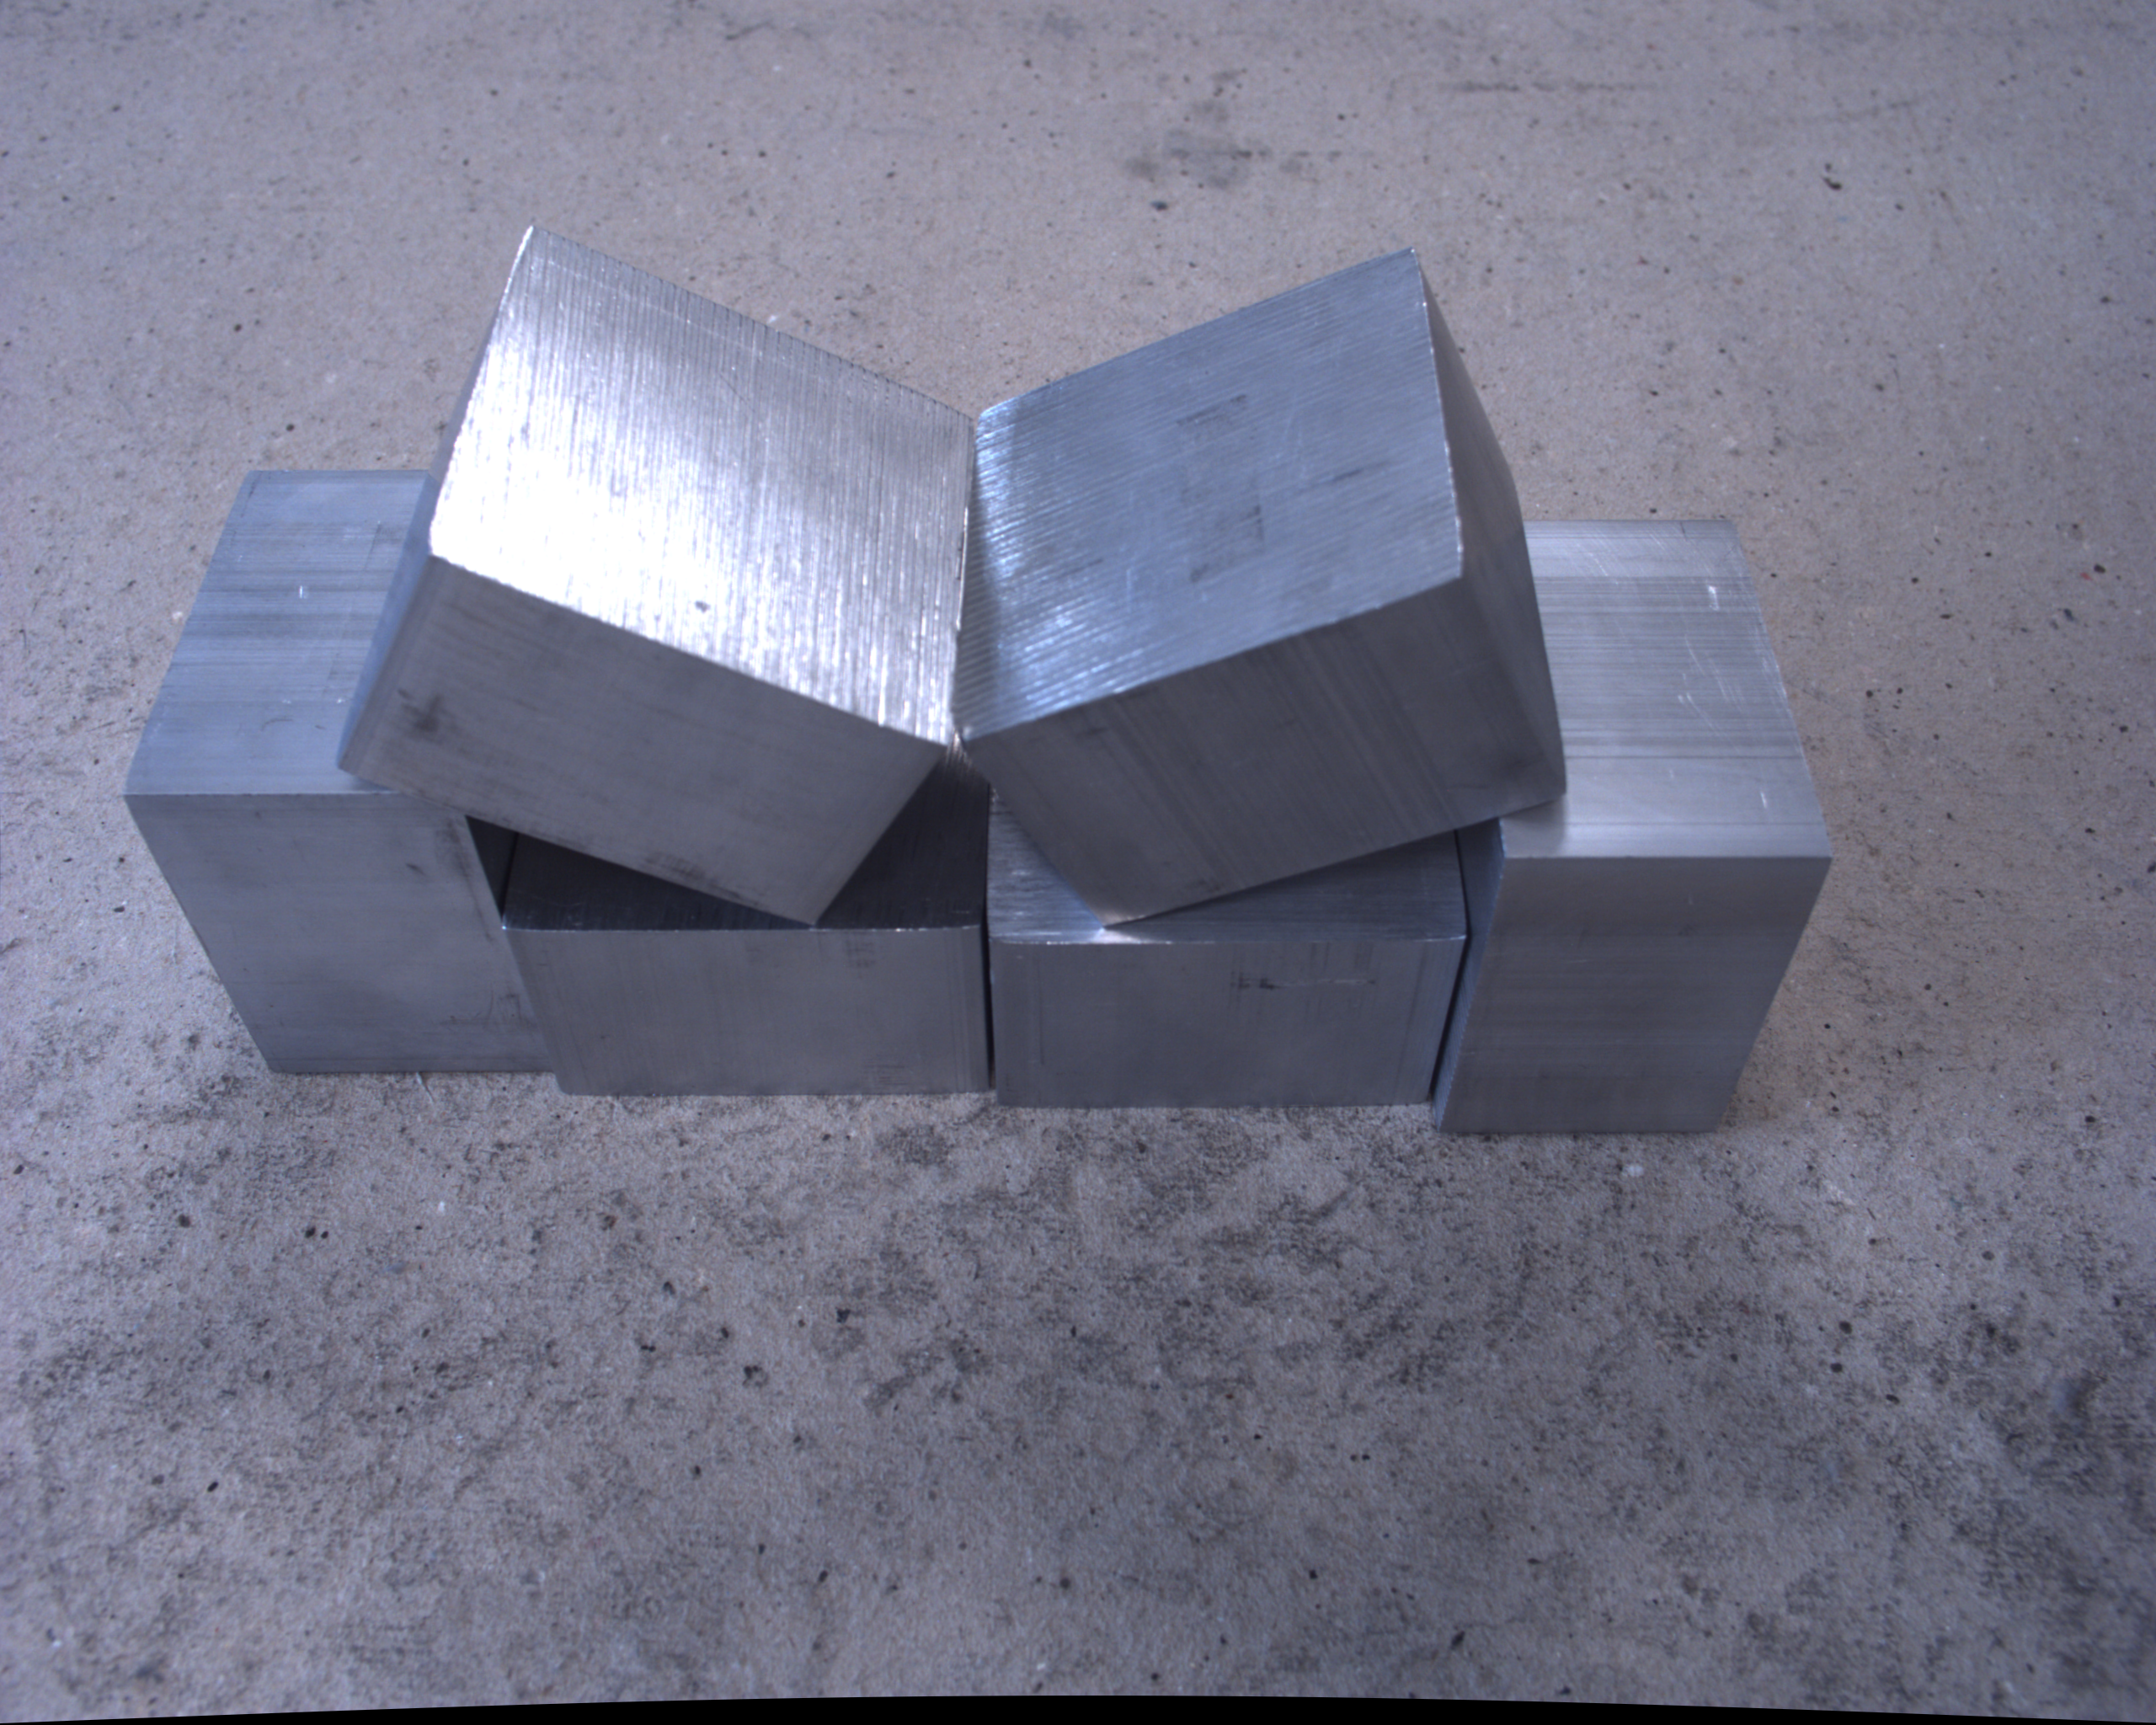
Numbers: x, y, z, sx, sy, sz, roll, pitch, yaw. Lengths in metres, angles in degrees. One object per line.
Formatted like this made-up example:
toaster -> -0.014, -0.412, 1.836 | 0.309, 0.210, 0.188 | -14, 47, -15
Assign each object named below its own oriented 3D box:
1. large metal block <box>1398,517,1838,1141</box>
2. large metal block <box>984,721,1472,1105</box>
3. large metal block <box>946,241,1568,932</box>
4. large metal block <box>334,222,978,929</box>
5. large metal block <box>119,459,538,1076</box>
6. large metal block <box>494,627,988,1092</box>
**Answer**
large metal block -> 0.091, -0.005, 0.375 | 0.050, 0.080, 0.080 | 0, 50, -1
large metal block -> 0.025, -0.002, 0.389 | 0.081, 0.050, 0.080 | 0, 50, 0
large metal block -> 0.028, -0.044, 0.341 | 0.080, 0.050, 0.080 | -17, 46, 21
large metal block -> -0.065, -0.046, 0.341 | 0.080, 0.050, 0.080 | 20, 46, -22
large metal block -> -0.124, -0.017, 0.381 | 0.050, 0.080, 0.080 | -1, 49, 0
large metal block -> -0.056, -0.004, 0.391 | 0.081, 0.050, 0.080 | 0, 50, 0
